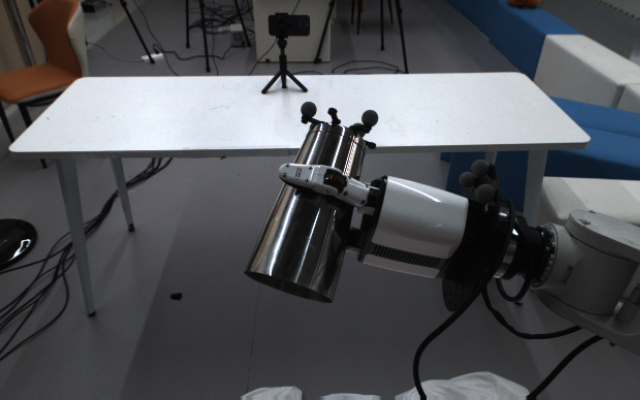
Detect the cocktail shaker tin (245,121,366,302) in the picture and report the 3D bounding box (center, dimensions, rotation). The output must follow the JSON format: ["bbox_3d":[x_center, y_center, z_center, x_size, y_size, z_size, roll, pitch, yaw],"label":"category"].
[{"bbox_3d":[-0.006,0.010,0.499,0.093,0.093,0.170,13,70,15],"label":"cocktail shaker tin"}]
